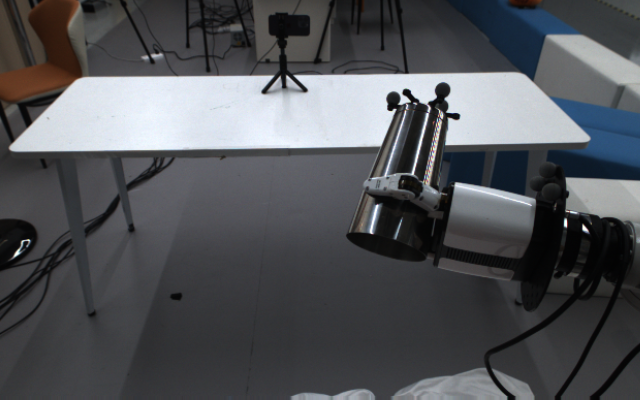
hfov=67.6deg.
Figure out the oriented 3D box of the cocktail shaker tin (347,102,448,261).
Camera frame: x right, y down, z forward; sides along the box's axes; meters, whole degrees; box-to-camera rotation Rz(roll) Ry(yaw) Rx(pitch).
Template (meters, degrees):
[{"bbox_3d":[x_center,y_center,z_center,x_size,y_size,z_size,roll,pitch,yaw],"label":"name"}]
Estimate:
[{"bbox_3d":[0.098,-0.023,0.565,0.093,0.093,0.170,14,72,16],"label":"cocktail shaker tin"}]
